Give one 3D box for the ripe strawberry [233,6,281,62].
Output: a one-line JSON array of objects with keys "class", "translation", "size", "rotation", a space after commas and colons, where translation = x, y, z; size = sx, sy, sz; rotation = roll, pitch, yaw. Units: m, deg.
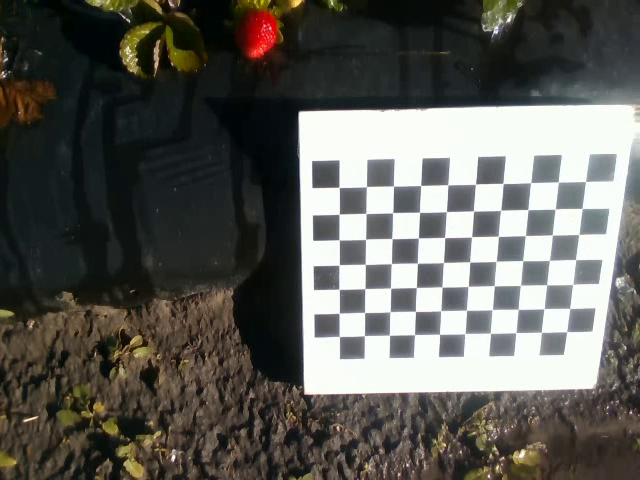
[{"class": "ripe strawberry", "translation": [-0.041, -0.129, 0.401], "size": [0.039, 0.040, 0.039], "rotation": [-7, 43, 12]}]
